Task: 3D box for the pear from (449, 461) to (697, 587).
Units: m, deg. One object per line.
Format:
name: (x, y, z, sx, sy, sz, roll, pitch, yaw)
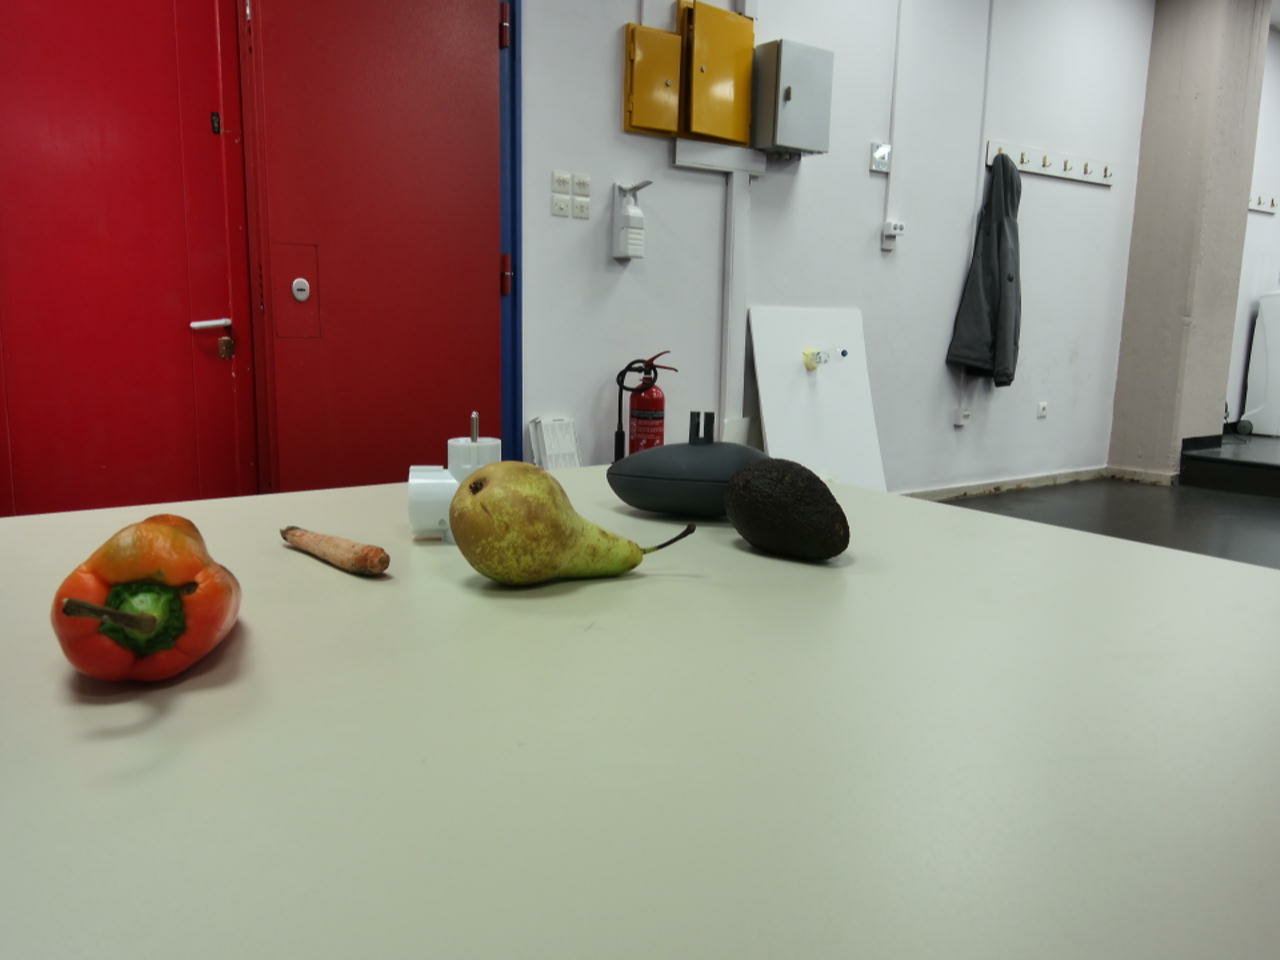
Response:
pear: (-0.046, 0.024, 0.618, 0.144, 0.075, 0.072, -4, 9, -28)
